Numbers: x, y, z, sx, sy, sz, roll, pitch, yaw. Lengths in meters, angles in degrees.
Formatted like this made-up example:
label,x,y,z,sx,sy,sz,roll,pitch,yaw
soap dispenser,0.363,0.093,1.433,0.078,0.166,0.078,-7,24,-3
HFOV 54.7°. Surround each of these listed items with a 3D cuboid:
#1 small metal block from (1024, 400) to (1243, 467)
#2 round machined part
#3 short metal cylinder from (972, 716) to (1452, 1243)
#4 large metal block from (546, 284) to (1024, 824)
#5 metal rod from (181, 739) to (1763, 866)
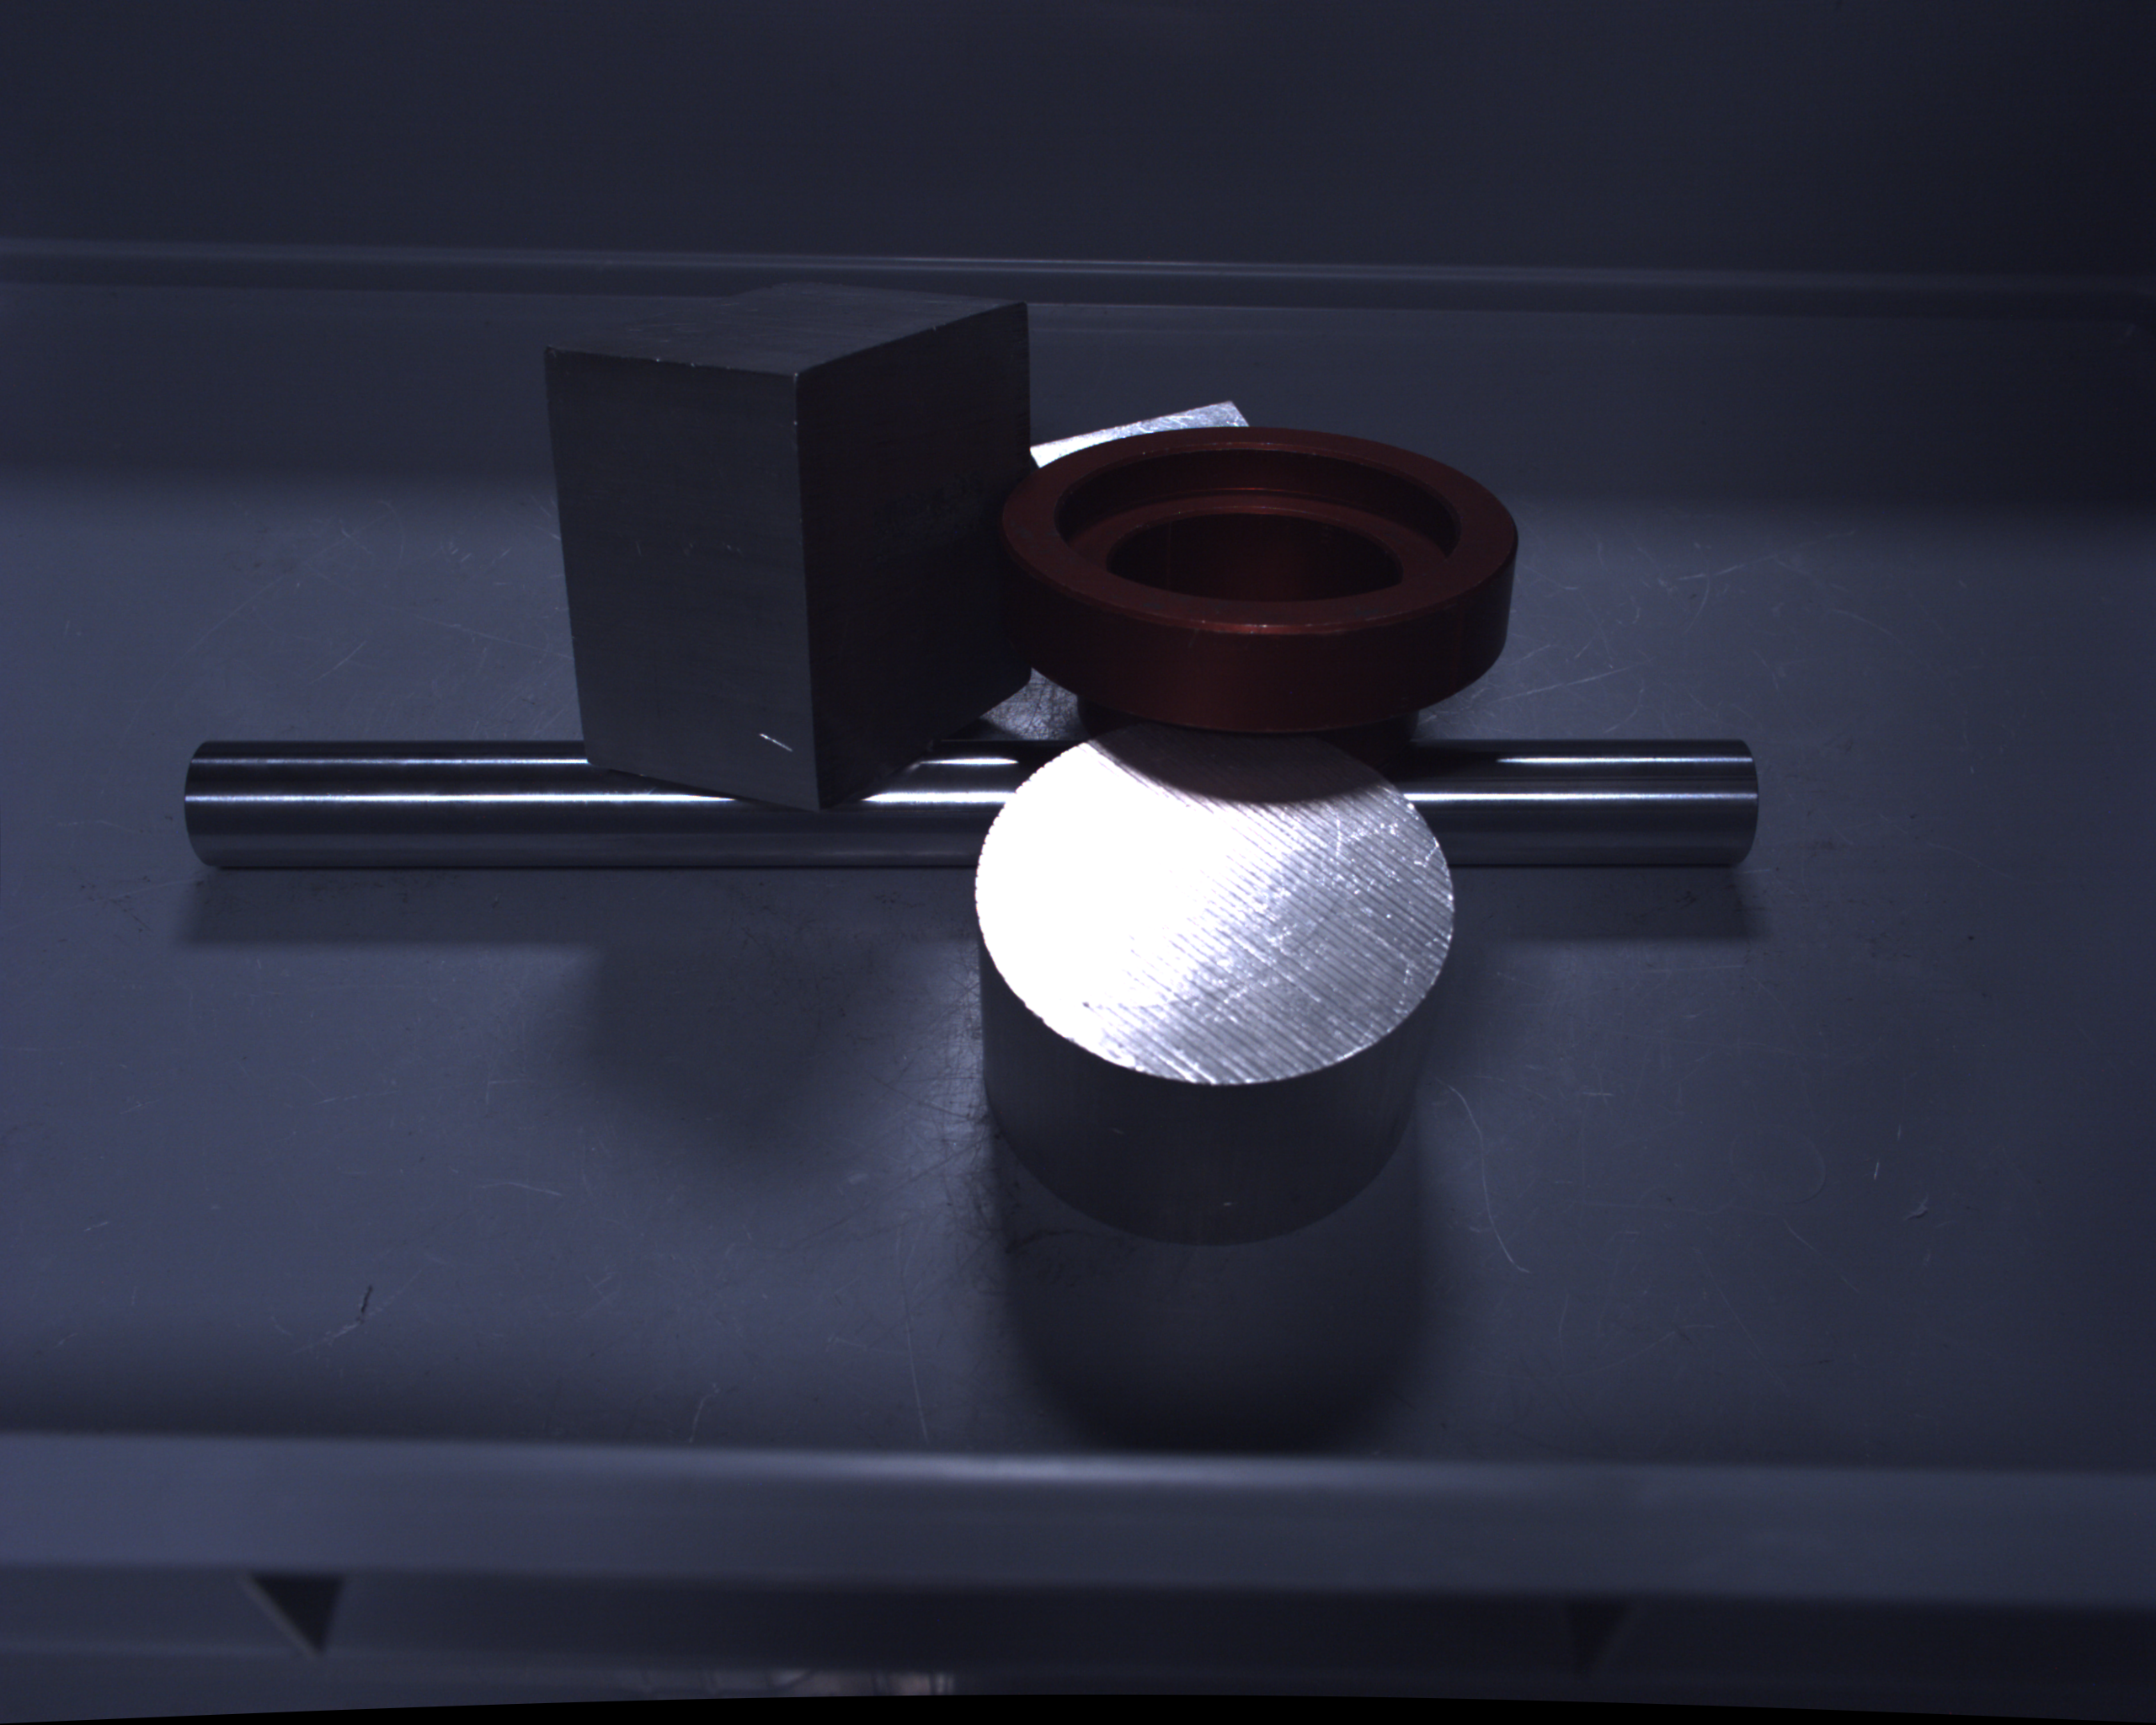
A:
label,x,y,z,sx,sy,sz,roll,pitch,yaw
small metal block,0.020,-0.073,0.466,0.050,0.025,0.050,-16,52,-14
round machined part,0.034,-0.049,0.408,0.099,0.042,0.098,0,33,0
short metal cylinder,0.022,0.020,0.369,0.081,0.050,0.080,0,50,0
large metal block,-0.052,-0.063,0.401,0.050,0.079,0.080,12,27,24
metal rod,-0.019,-0.012,0.411,0.302,0.025,0.025,0,50,-1
